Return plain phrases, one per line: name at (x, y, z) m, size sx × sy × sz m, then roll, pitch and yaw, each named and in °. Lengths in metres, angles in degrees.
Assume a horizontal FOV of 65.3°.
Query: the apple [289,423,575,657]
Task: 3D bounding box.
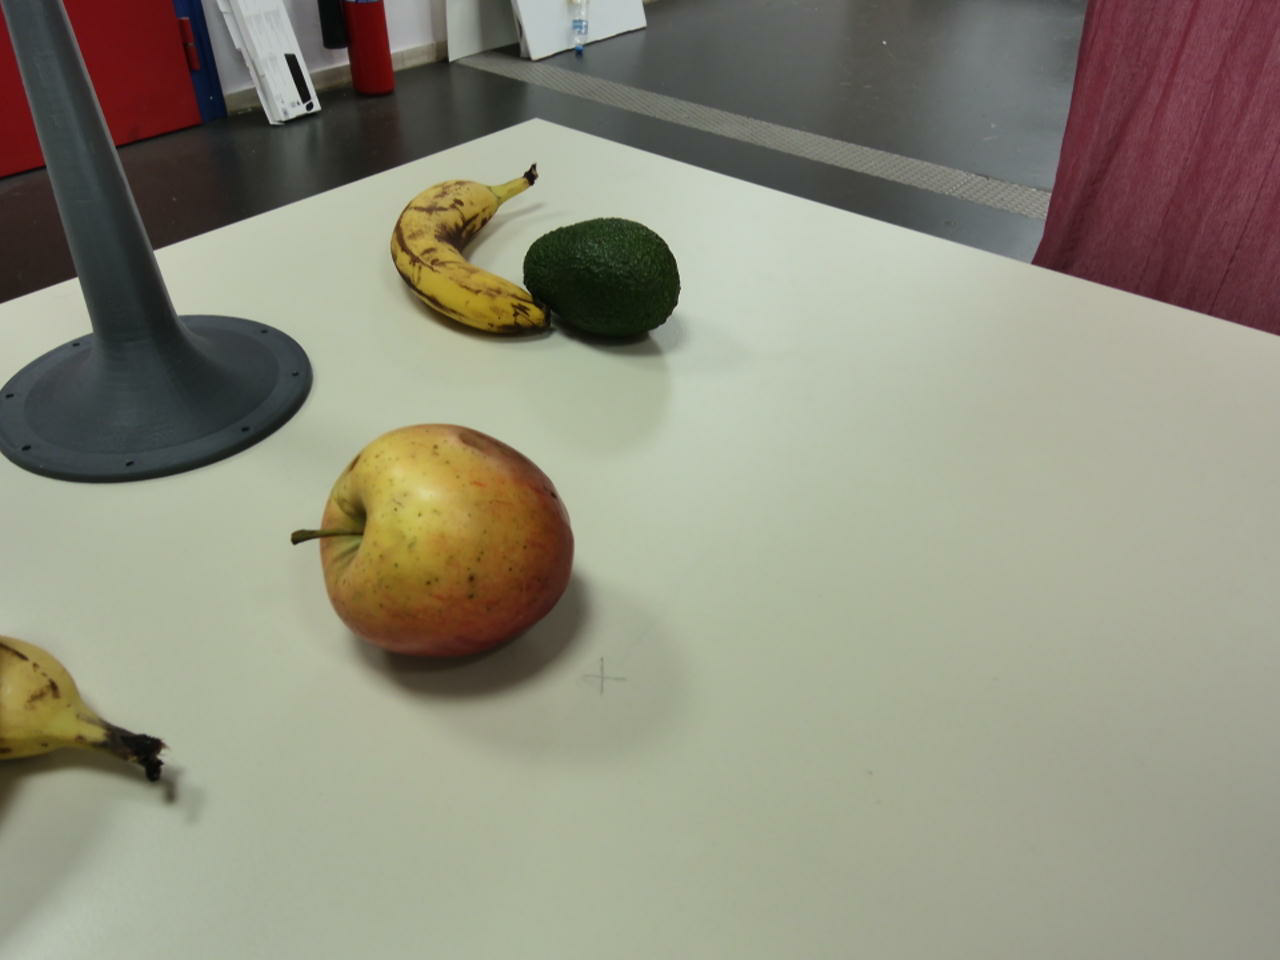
apple at (-0.072, 0.022, 0.365) m, size 0.093 × 0.084 × 0.086 m, roll 3°, pitch 35°, yaw 1°
